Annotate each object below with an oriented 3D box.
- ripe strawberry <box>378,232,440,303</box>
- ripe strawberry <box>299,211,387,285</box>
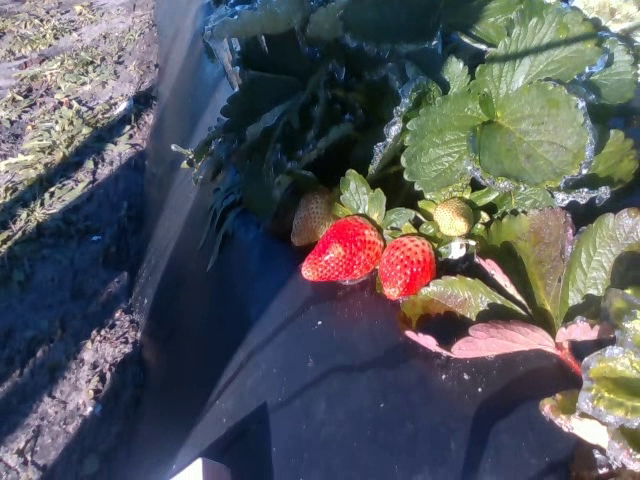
[{"bbox_3d":[0.045,0.016,0.313,0.036,0.041,0.030,-21,-48,41],"label":"ripe strawberry"},{"bbox_3d":[0.009,0.011,0.331,0.051,0.040,0.036,-29,22,-30],"label":"ripe strawberry"}]
